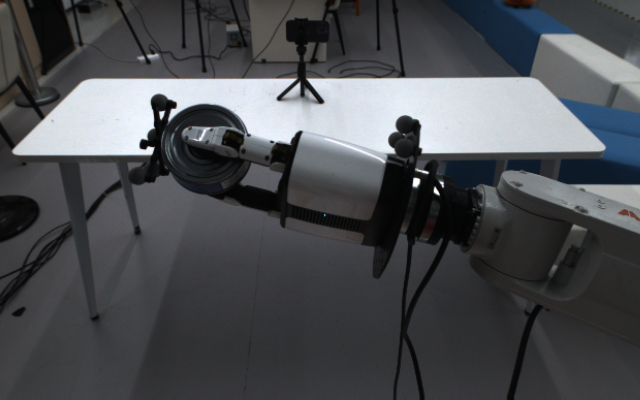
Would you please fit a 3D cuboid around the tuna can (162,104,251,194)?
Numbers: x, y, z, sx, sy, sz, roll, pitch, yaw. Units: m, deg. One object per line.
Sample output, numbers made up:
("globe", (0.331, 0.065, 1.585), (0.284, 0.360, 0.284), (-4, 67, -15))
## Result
("tuna can", (-0.110, -0.052, 0.480), (0.085, 0.034, 0.085), (1, 73, -5))
